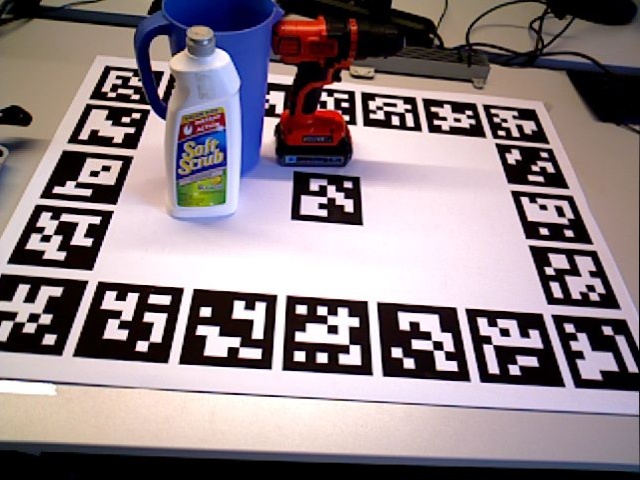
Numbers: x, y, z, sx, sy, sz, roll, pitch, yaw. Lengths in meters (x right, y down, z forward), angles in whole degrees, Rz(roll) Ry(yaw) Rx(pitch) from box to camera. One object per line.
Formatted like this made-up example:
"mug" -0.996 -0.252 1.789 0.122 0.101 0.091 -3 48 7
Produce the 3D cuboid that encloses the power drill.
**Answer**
"power drill" 0.031 -0.209 0.741 0.183 0.191 0.056 3 53 -12

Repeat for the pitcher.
"pitcher" -0.133 -0.212 0.710 0.186 0.248 0.132 -18 57 -21

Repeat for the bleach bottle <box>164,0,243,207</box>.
"bleach bottle" -0.141 -0.148 0.630 0.102 0.256 0.067 -2 51 -9
